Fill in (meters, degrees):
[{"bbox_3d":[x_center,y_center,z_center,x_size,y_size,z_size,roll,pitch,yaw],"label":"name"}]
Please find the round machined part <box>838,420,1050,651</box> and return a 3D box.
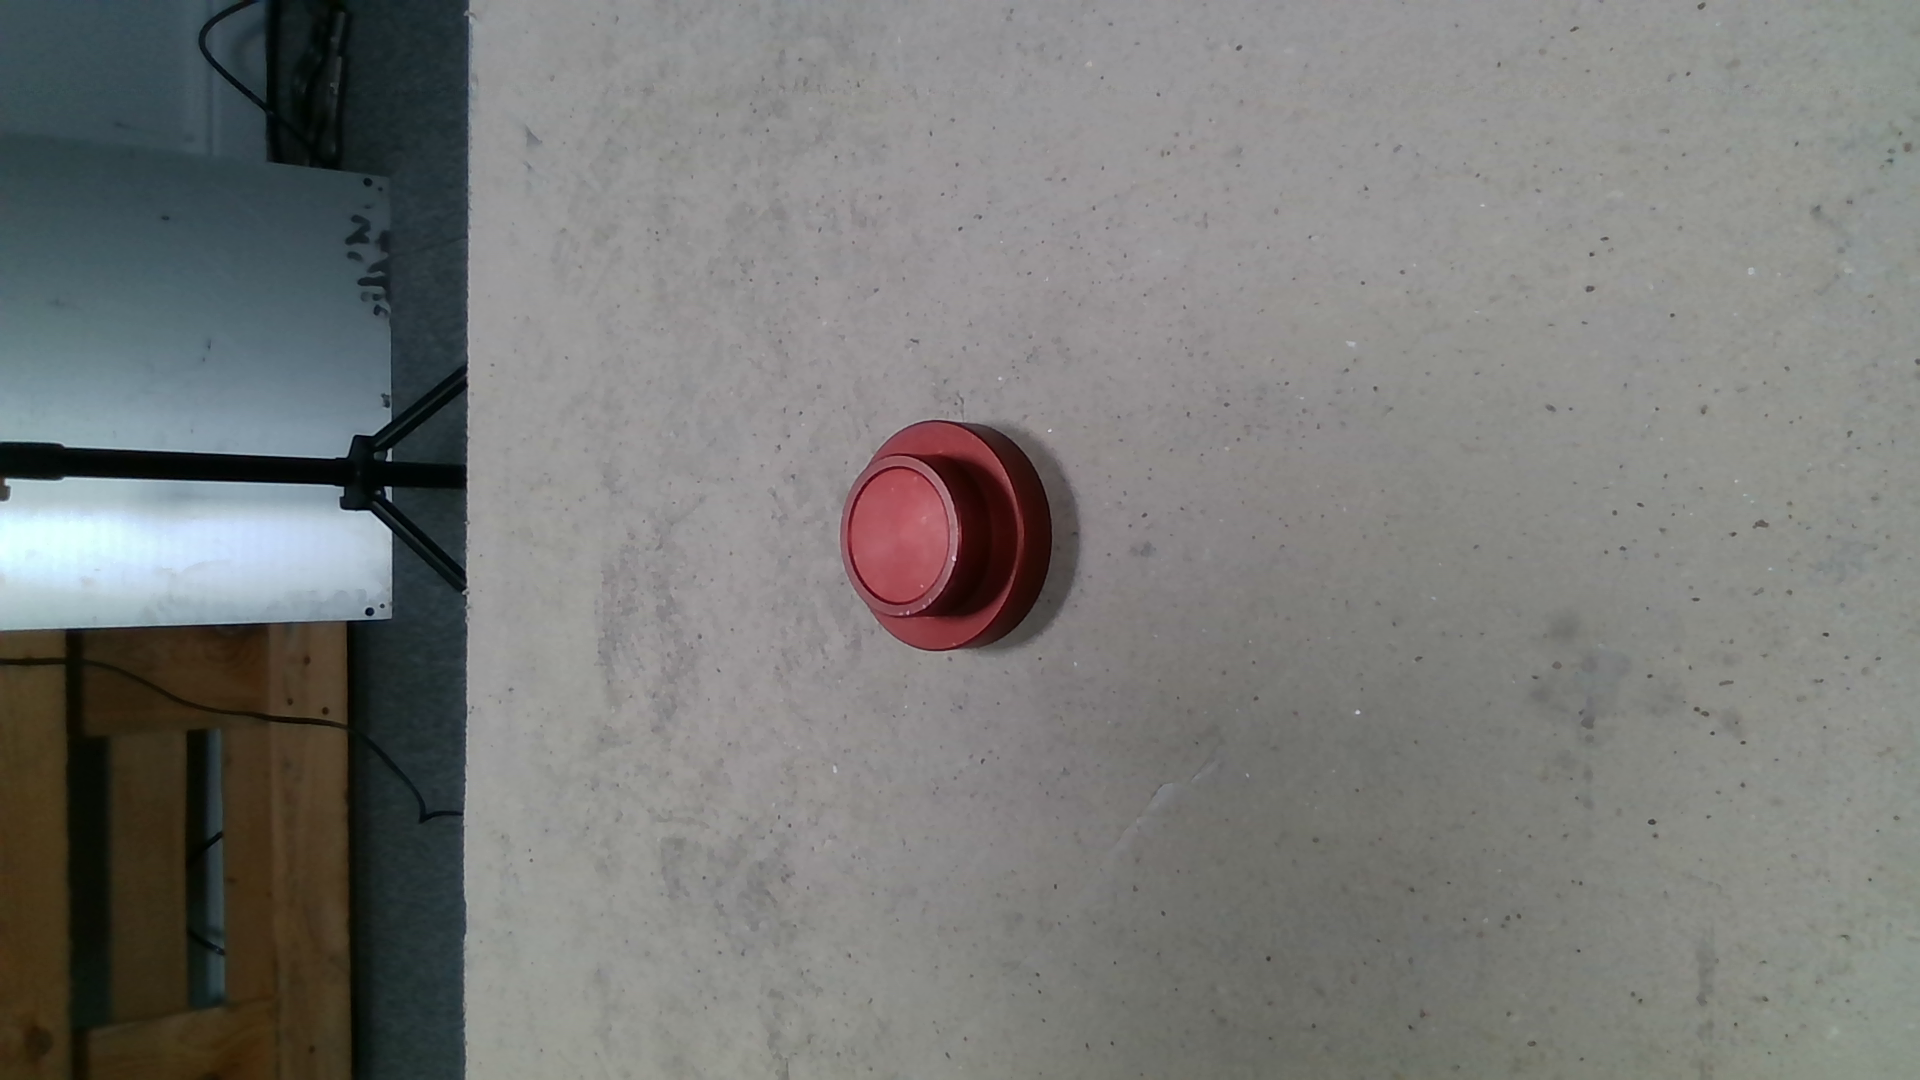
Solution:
[{"bbox_3d":[-0.013,-0.002,0.582,0.098,0.042,0.098,0,91,40],"label":"round machined part"}]
